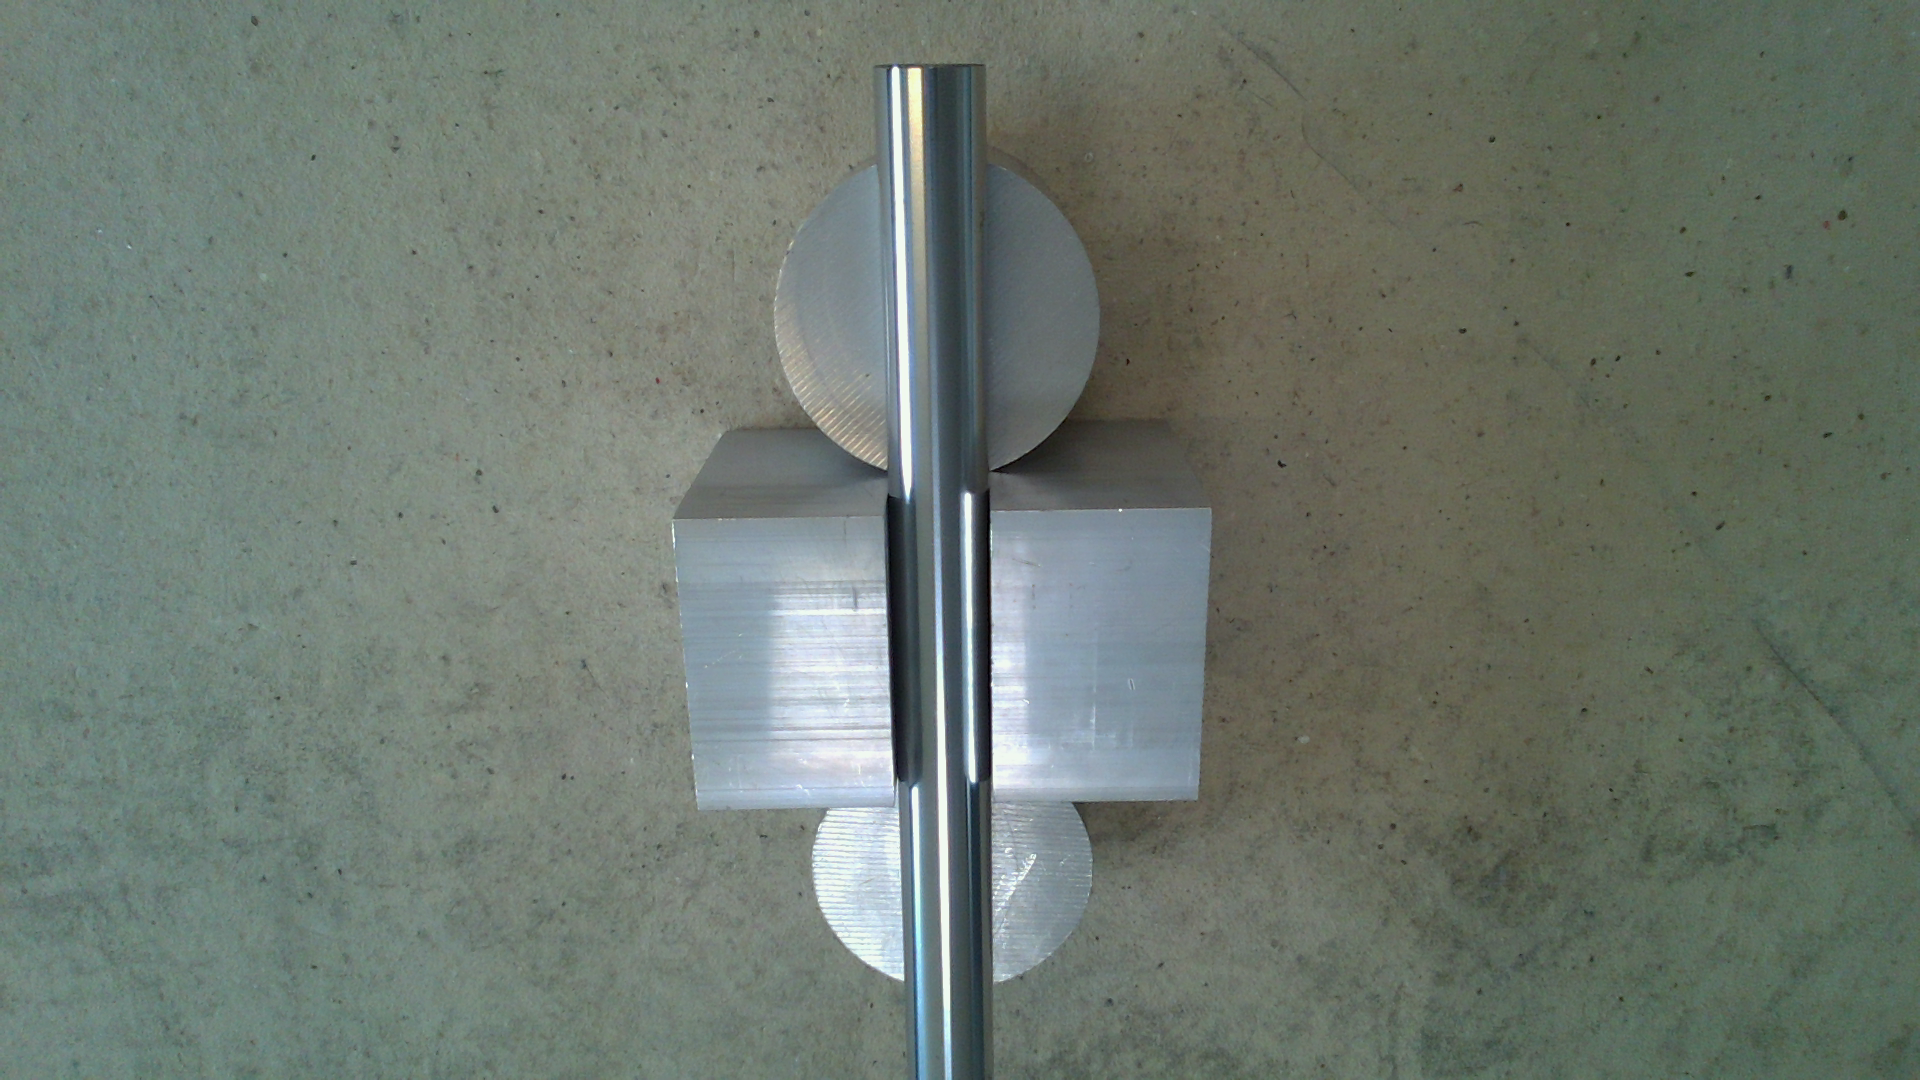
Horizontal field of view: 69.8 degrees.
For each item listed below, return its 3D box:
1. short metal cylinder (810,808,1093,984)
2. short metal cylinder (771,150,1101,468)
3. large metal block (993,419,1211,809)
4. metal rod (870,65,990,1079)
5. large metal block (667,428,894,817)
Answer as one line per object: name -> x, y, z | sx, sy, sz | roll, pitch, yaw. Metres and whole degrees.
short metal cylinder -> -0.002, 0.085, 0.413 | 0.080, 0.050, 0.080 | 0, 110, 0
short metal cylinder -> -0.006, -0.062, 0.358 | 0.080, 0.050, 0.080 | 0, 110, 0
large metal block -> 0.034, 0.016, 0.371 | 0.050, 0.080, 0.080 | -1, 110, 0
metal rod -> -0.005, 0.037, 0.354 | 0.025, 0.025, 0.300 | -1, 110, 0
large metal block -> -0.042, 0.018, 0.371 | 0.050, 0.080, 0.080 | -1, 110, 0
